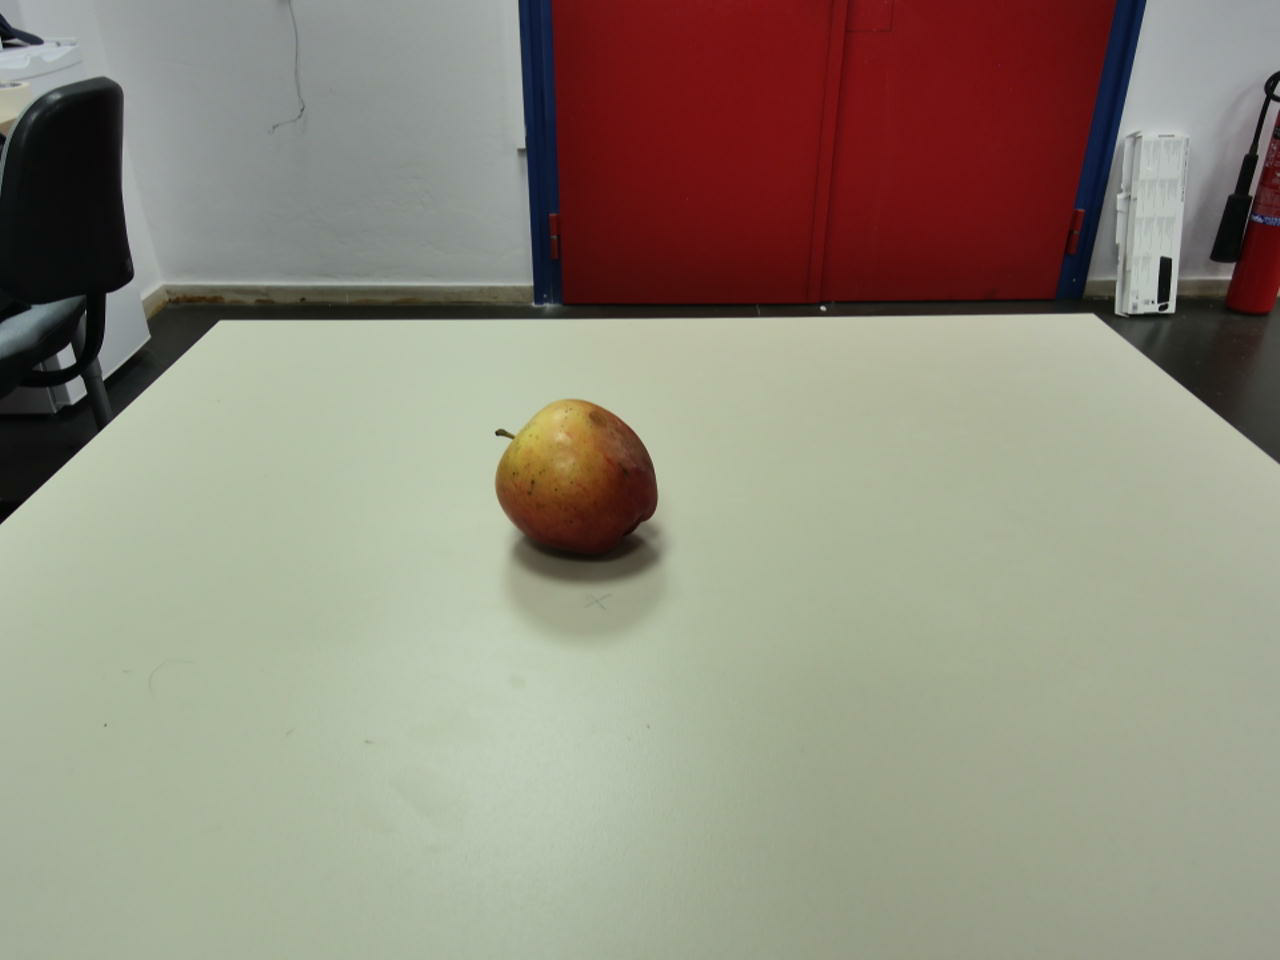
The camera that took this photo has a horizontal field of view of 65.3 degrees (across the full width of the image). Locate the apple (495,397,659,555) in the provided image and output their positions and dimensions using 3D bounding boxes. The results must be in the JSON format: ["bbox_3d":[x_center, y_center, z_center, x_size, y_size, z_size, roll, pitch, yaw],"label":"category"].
[{"bbox_3d":[-0.037,-0.001,0.574,0.086,0.084,0.093,-18,31,-32],"label":"apple"}]
